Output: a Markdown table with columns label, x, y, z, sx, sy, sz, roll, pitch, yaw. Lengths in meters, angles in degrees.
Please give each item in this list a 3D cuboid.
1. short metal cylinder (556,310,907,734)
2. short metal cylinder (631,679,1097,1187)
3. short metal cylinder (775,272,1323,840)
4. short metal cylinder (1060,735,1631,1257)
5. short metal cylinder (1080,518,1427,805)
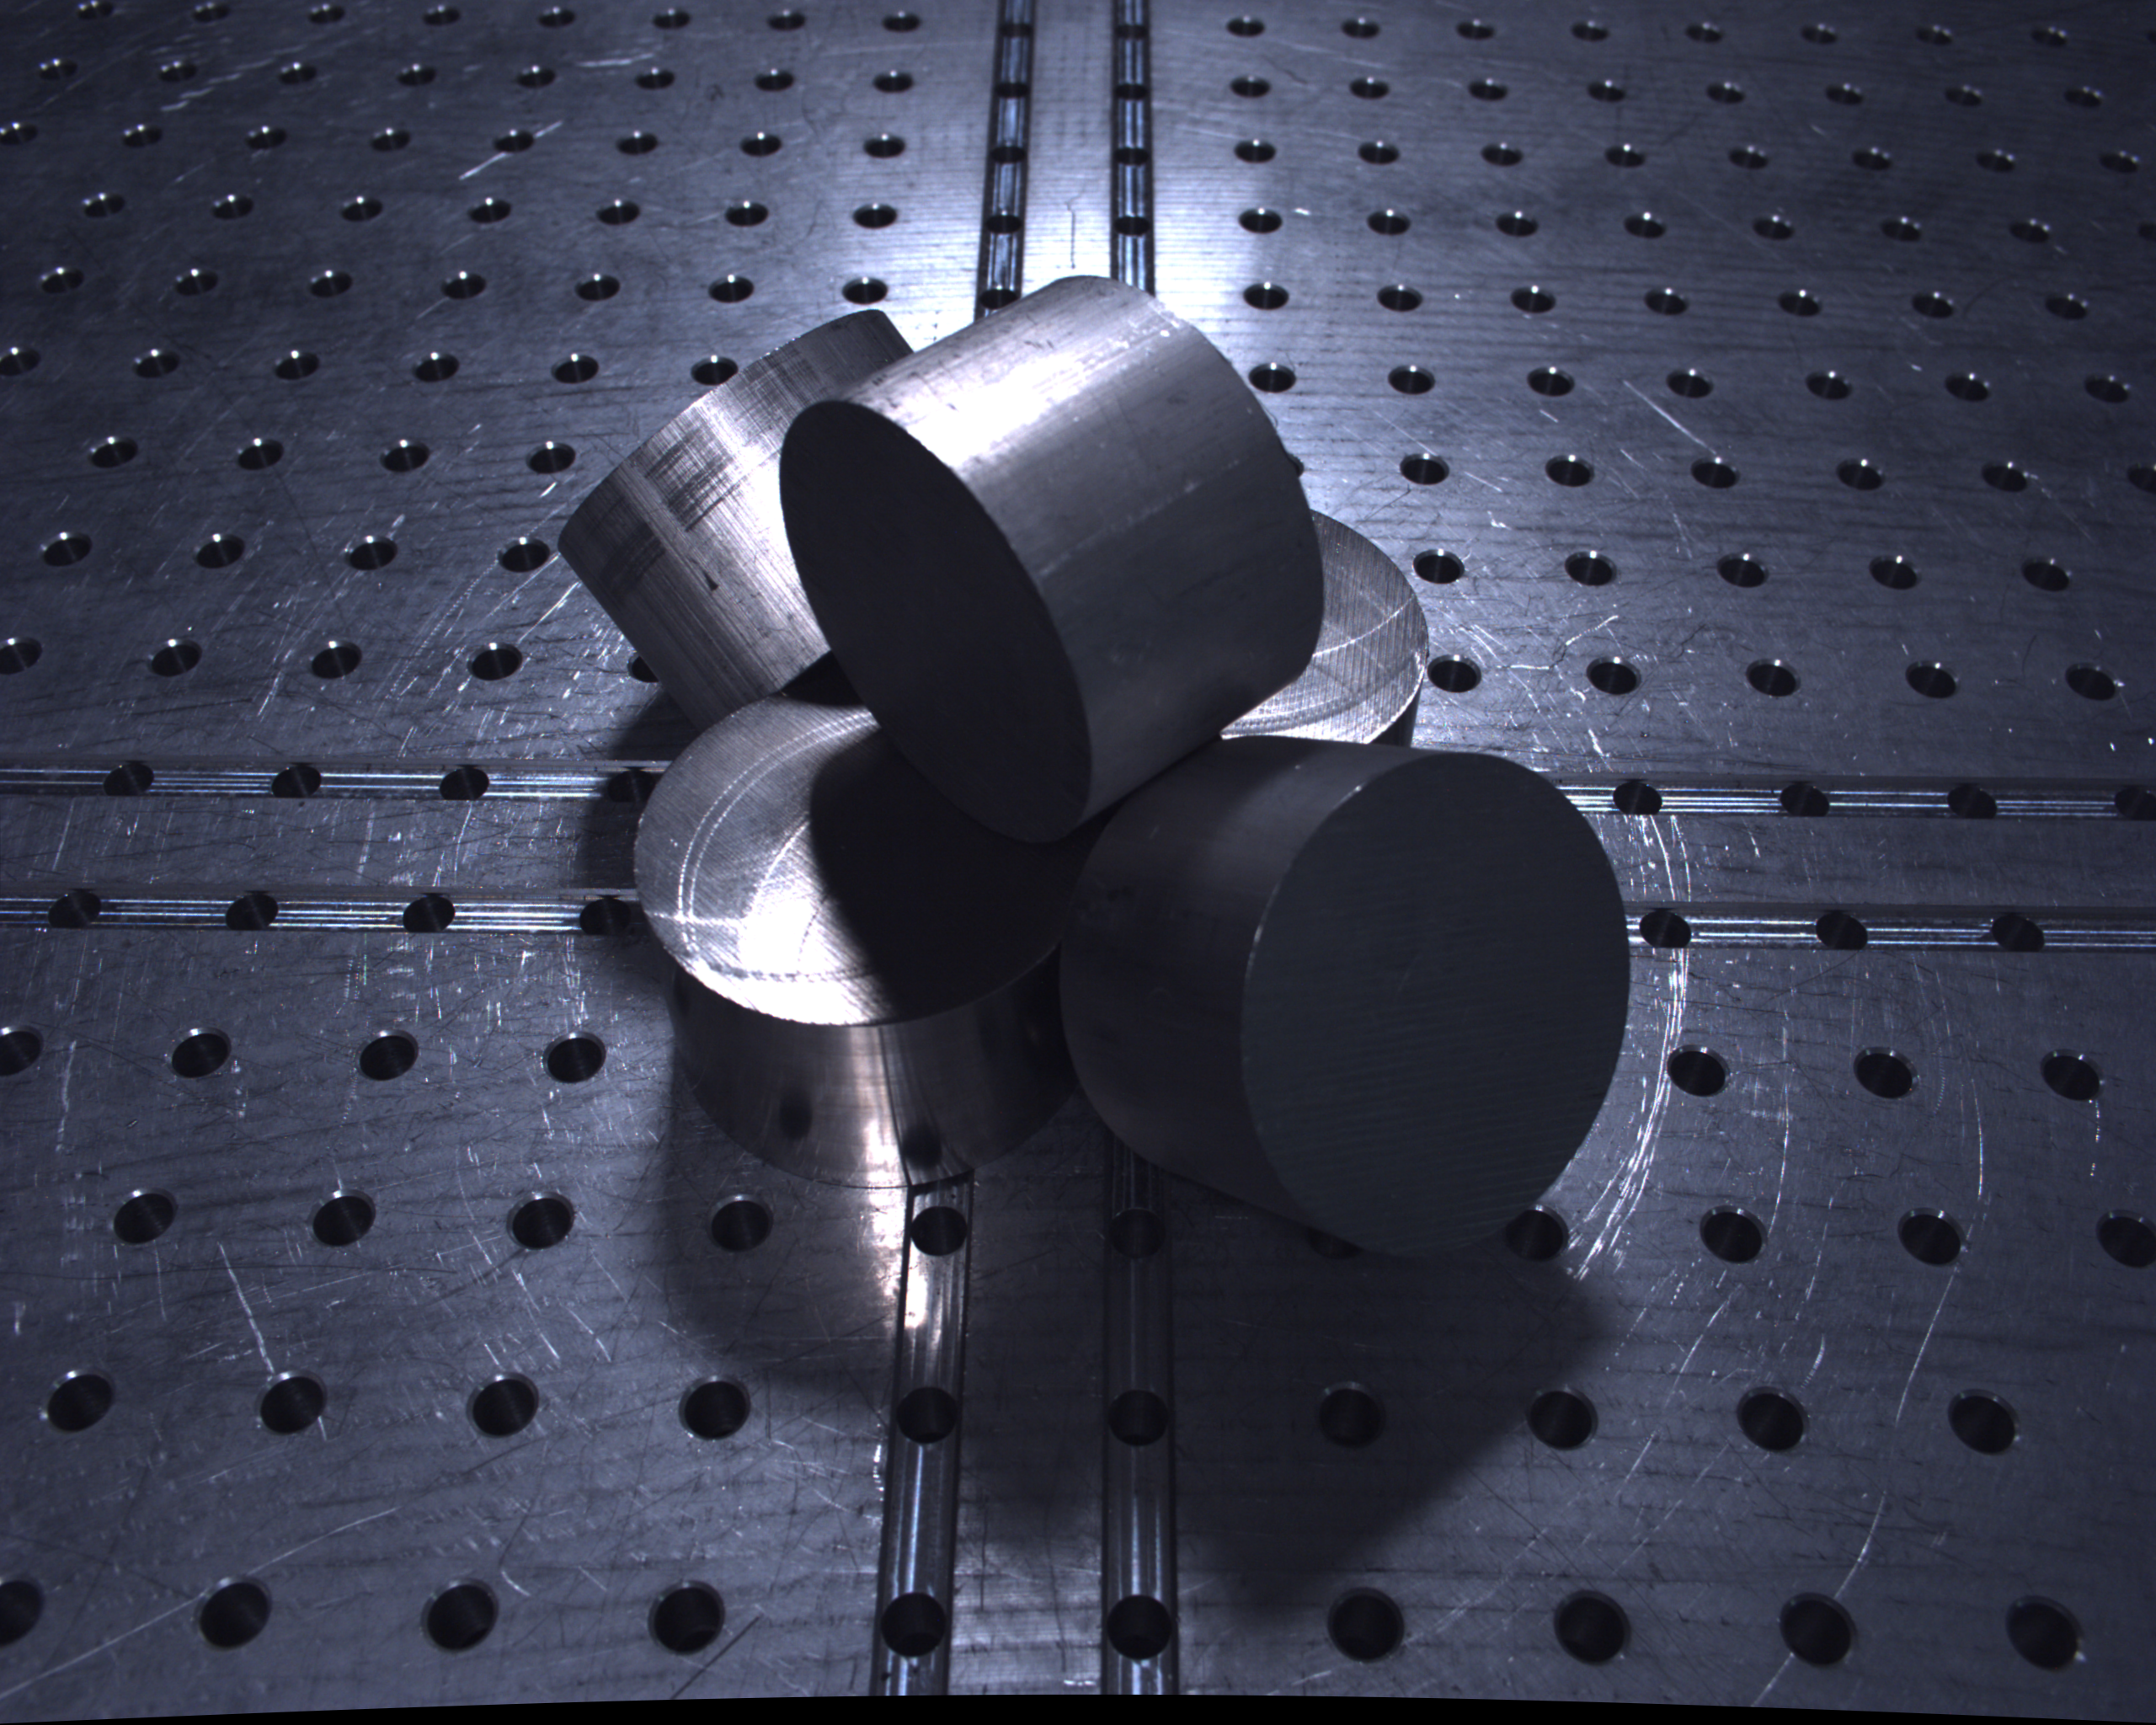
| label | x | y | z | sx | sy | sz | roll | pitch | yaw |
| --- | --- | --- | --- | --- | --- | --- | --- | --- | --- |
| short metal cylinder | -0.055 | -0.065 | 0.417 | 0.080 | 0.080 | 0.050 | -39 | 94 | -28 |
| short metal cylinder | -0.037 | 0.012 | 0.380 | 0.081 | 0.050 | 0.080 | 0 | 50 | 0 |
| short metal cylinder | -0.006 | -0.051 | 0.348 | 0.050 | 0.080 | 0.080 | -34 | 58 | -25 |
| short metal cylinder | 0.044 | 0.020 | 0.346 | 0.080 | 0.080 | 0.050 | -33 | 22 | -25 |
| short metal cylinder | 0.026 | -0.028 | 0.415 | 0.081 | 0.050 | 0.080 | 0 | 50 | 0 |
